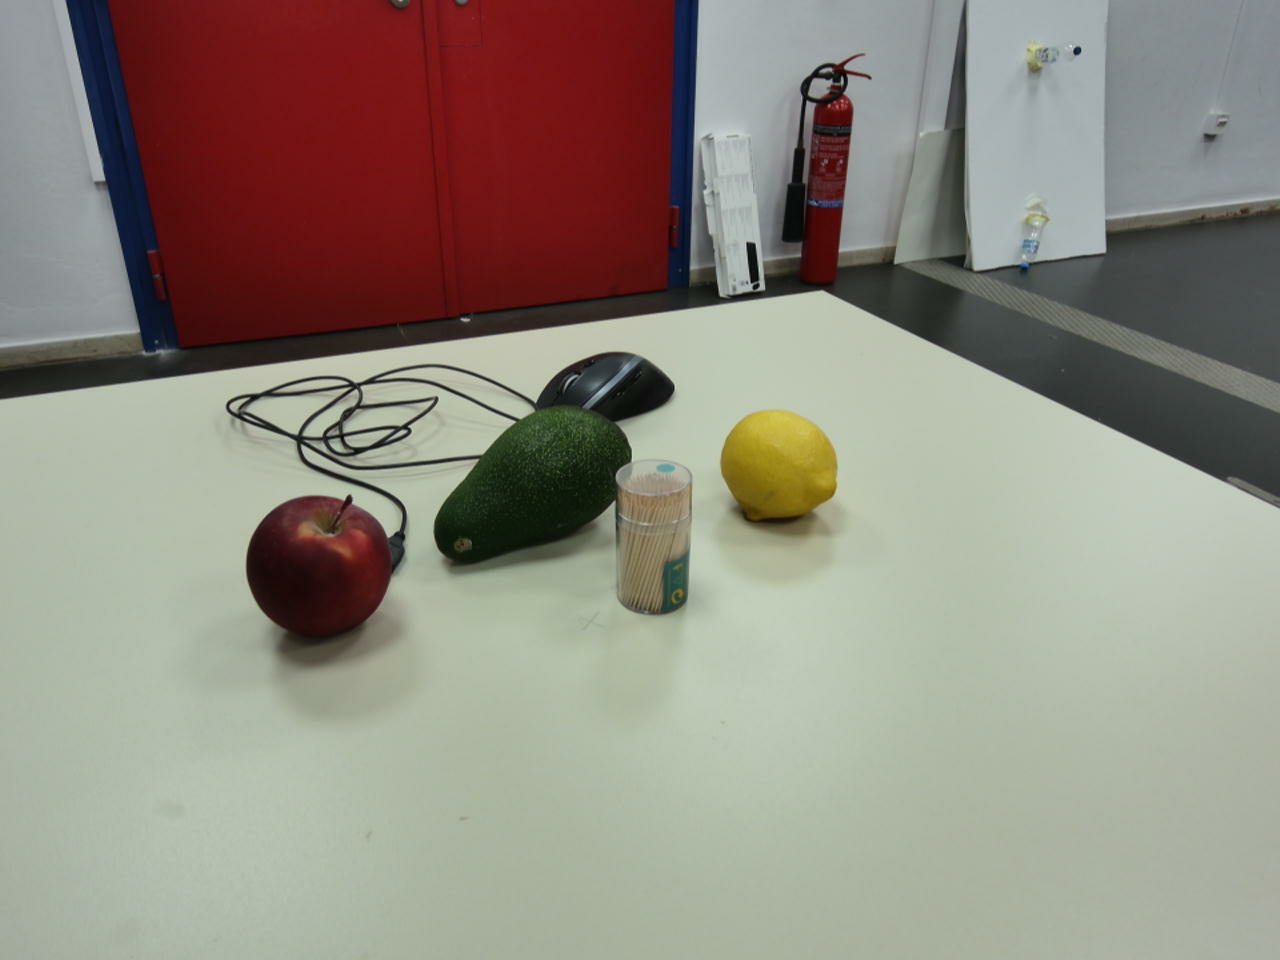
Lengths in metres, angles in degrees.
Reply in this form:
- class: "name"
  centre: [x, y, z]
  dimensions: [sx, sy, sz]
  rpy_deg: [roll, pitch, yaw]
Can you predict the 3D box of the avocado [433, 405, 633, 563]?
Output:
- class: "avocado"
  centre: [-0.064, -0.002, 0.583]
  dimensions: [0.123, 0.076, 0.074]
  rpy_deg: [-7, 27, -17]
